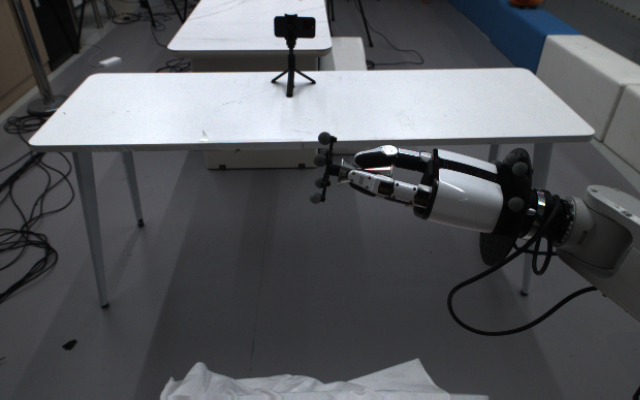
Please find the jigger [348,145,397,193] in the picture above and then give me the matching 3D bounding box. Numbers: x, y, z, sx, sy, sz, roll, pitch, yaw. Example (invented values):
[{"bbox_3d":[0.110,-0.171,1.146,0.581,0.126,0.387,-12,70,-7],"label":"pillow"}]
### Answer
[{"bbox_3d":[0.067,-0.035,0.649,0.071,0.043,0.043,10,35,4],"label":"jigger"}]
